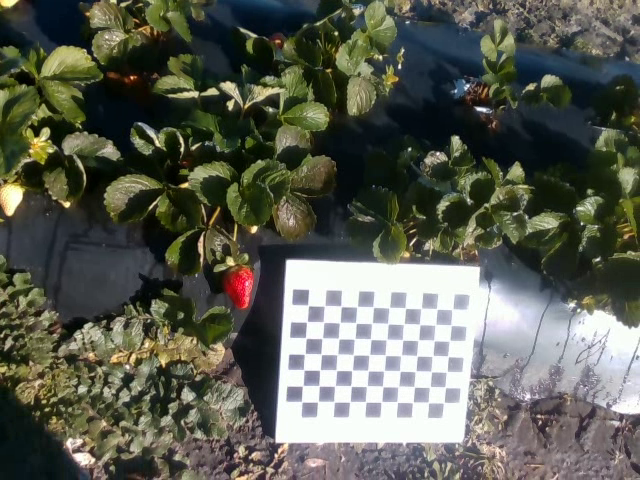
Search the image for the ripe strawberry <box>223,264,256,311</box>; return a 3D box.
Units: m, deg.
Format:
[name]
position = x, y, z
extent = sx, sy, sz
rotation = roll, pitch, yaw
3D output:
[ripe strawberry]
position = -0.113, 0.067, 0.870
extent = 0.048, 0.069, 0.040
rotation = -15, 3, -5
